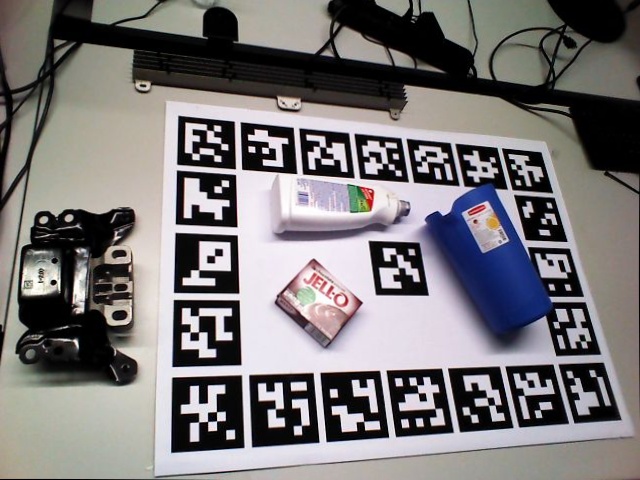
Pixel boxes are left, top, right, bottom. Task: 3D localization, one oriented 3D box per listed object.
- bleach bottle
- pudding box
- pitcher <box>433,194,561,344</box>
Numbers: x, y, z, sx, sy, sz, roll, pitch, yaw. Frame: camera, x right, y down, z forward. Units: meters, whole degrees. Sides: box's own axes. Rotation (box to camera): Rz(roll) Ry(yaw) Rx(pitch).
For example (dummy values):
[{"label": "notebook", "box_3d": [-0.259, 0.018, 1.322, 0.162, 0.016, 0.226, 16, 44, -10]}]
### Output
[{"label": "bleach bottle", "box_3d": [0.053, -0.056, 0.892, 0.250, 0.068, 0.102, 1, 72, -19]}, {"label": "pudding box", "box_3d": [0.004, 0.104, 0.816, 0.114, 0.039, 0.089, 45, 57, 3]}, {"label": "pitcher", "box_3d": [0.314, 0.049, 0.906, 0.188, 0.134, 0.242, -11, 73, -57]}]
